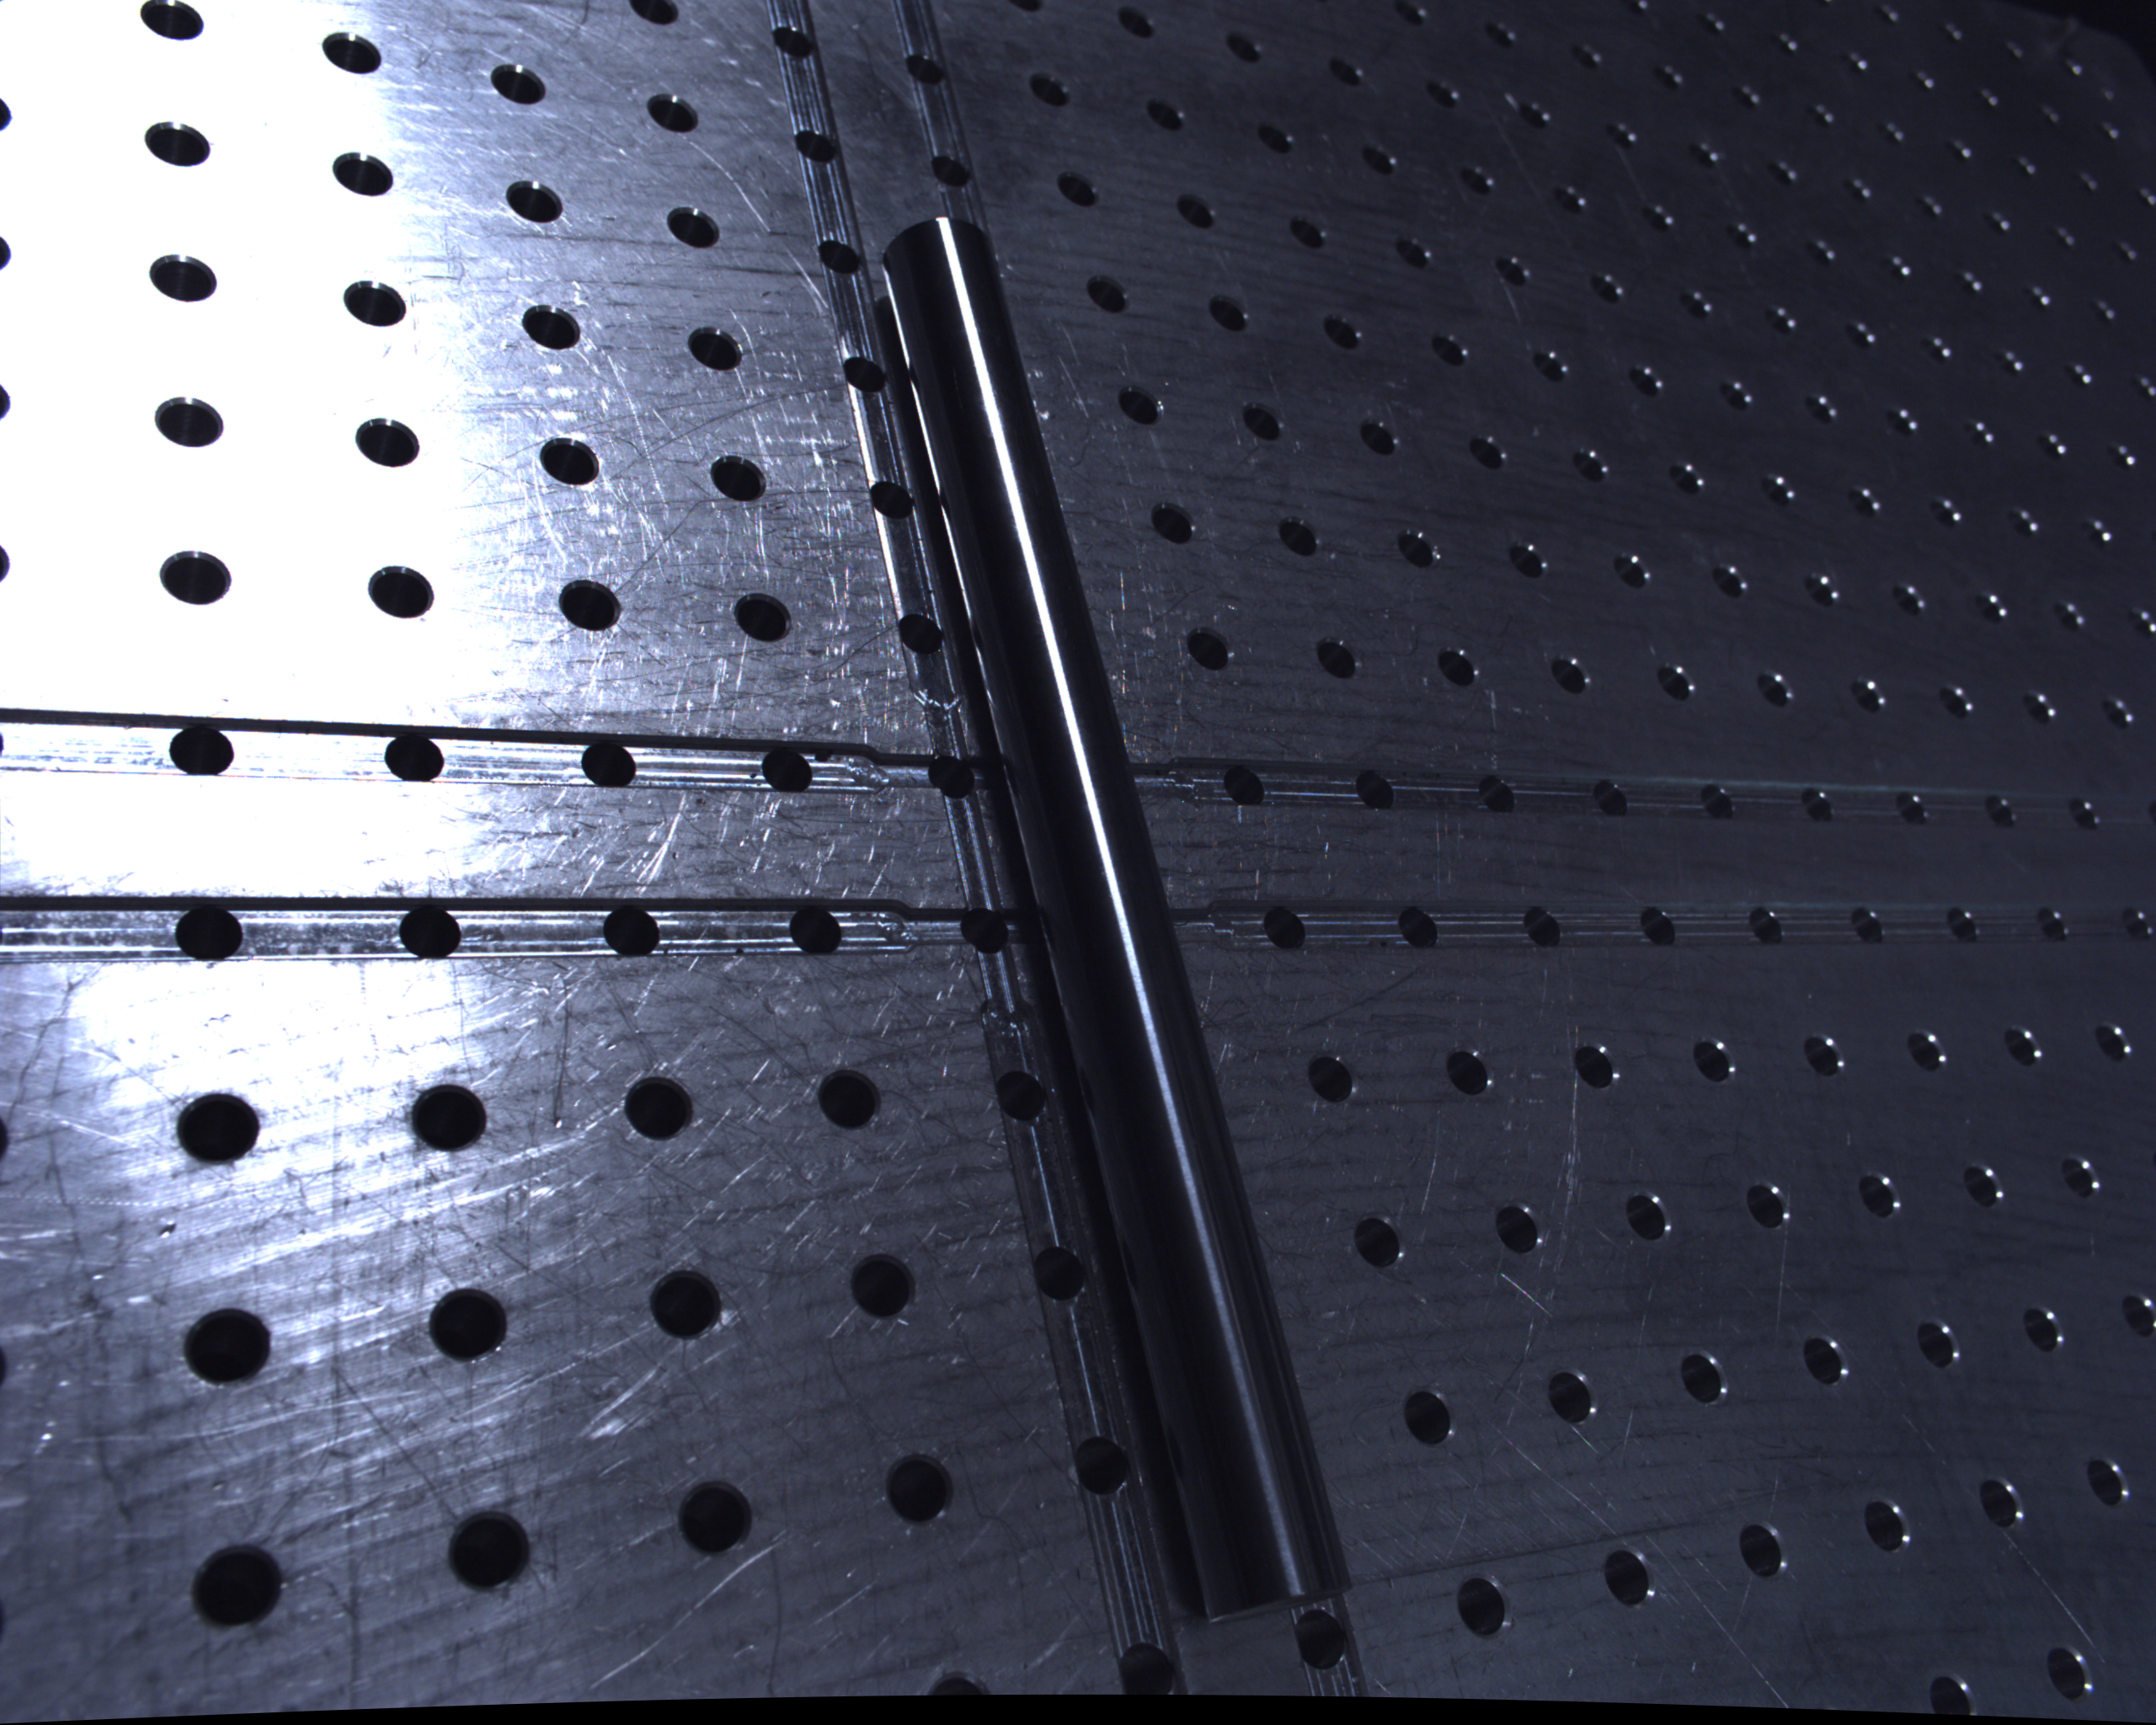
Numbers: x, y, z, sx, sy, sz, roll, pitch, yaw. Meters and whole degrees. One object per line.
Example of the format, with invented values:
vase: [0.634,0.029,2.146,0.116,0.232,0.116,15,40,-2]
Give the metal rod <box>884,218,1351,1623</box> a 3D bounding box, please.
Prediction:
metal rod: [0.001,-0.006,0.414,0.025,0.025,0.299,0,62,-28]
